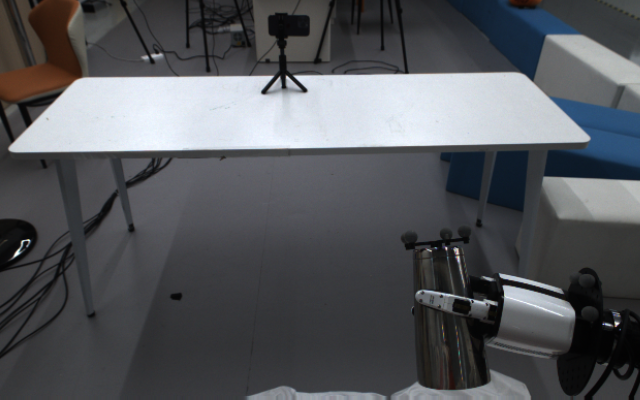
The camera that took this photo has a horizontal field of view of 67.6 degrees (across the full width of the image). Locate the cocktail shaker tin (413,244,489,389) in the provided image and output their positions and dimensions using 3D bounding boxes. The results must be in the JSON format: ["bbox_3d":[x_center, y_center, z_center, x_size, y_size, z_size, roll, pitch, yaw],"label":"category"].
[{"bbox_3d":[0.165,0.147,0.635,0.093,0.170,0.093,-6,-7,-1],"label":"cocktail shaker tin"}]
